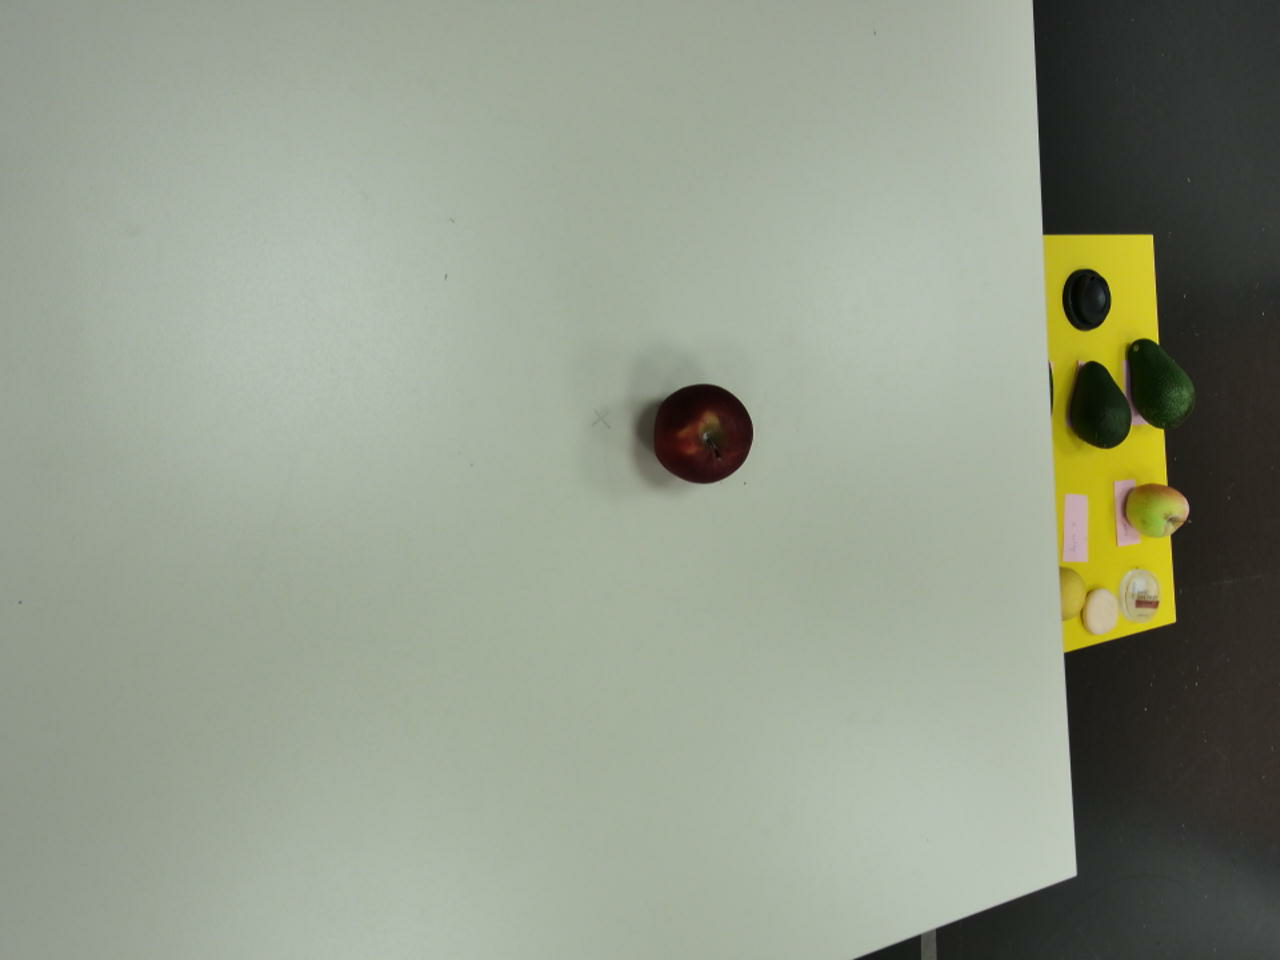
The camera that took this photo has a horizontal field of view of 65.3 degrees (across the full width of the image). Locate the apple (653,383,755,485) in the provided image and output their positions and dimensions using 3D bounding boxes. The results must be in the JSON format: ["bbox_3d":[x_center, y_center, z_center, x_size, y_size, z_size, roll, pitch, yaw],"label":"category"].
[{"bbox_3d":[0.043,-0.032,0.694,0.070,0.072,0.070,0,91,-28],"label":"apple"}]
